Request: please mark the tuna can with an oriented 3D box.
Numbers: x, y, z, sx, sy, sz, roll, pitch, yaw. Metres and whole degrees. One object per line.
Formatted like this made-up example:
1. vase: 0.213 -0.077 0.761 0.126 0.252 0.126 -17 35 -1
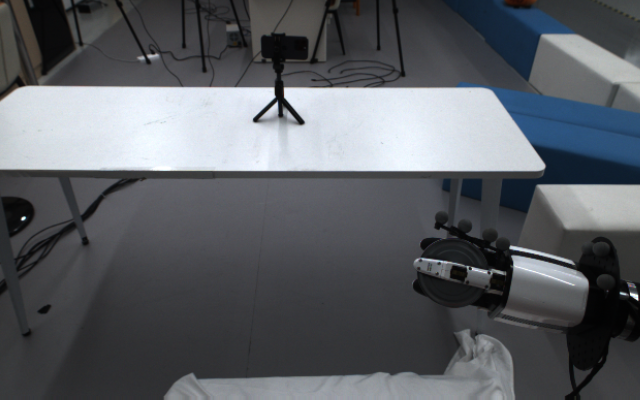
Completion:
1. tuna can: 0.168 0.087 0.607 0.085 0.085 0.034 14 -7 16
